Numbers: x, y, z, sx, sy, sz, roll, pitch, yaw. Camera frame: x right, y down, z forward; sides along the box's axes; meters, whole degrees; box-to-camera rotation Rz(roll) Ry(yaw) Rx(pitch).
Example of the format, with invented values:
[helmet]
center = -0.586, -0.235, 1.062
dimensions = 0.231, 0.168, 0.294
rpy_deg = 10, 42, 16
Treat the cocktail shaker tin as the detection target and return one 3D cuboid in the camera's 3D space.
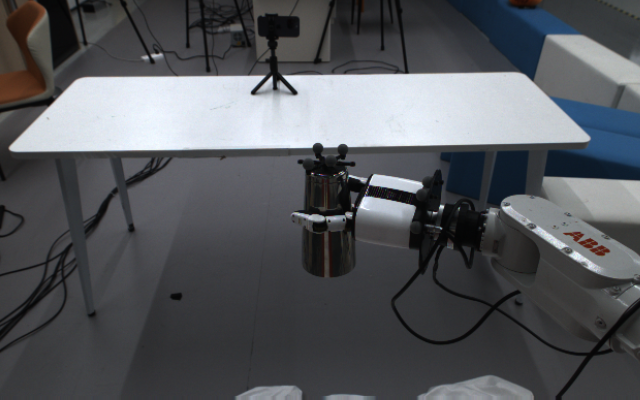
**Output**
[cocktail shaker tin]
center = 0.014, 0.026, 0.776
dimensions = 0.093, 0.170, 0.093
rpy_deg = -2, 26, 1
